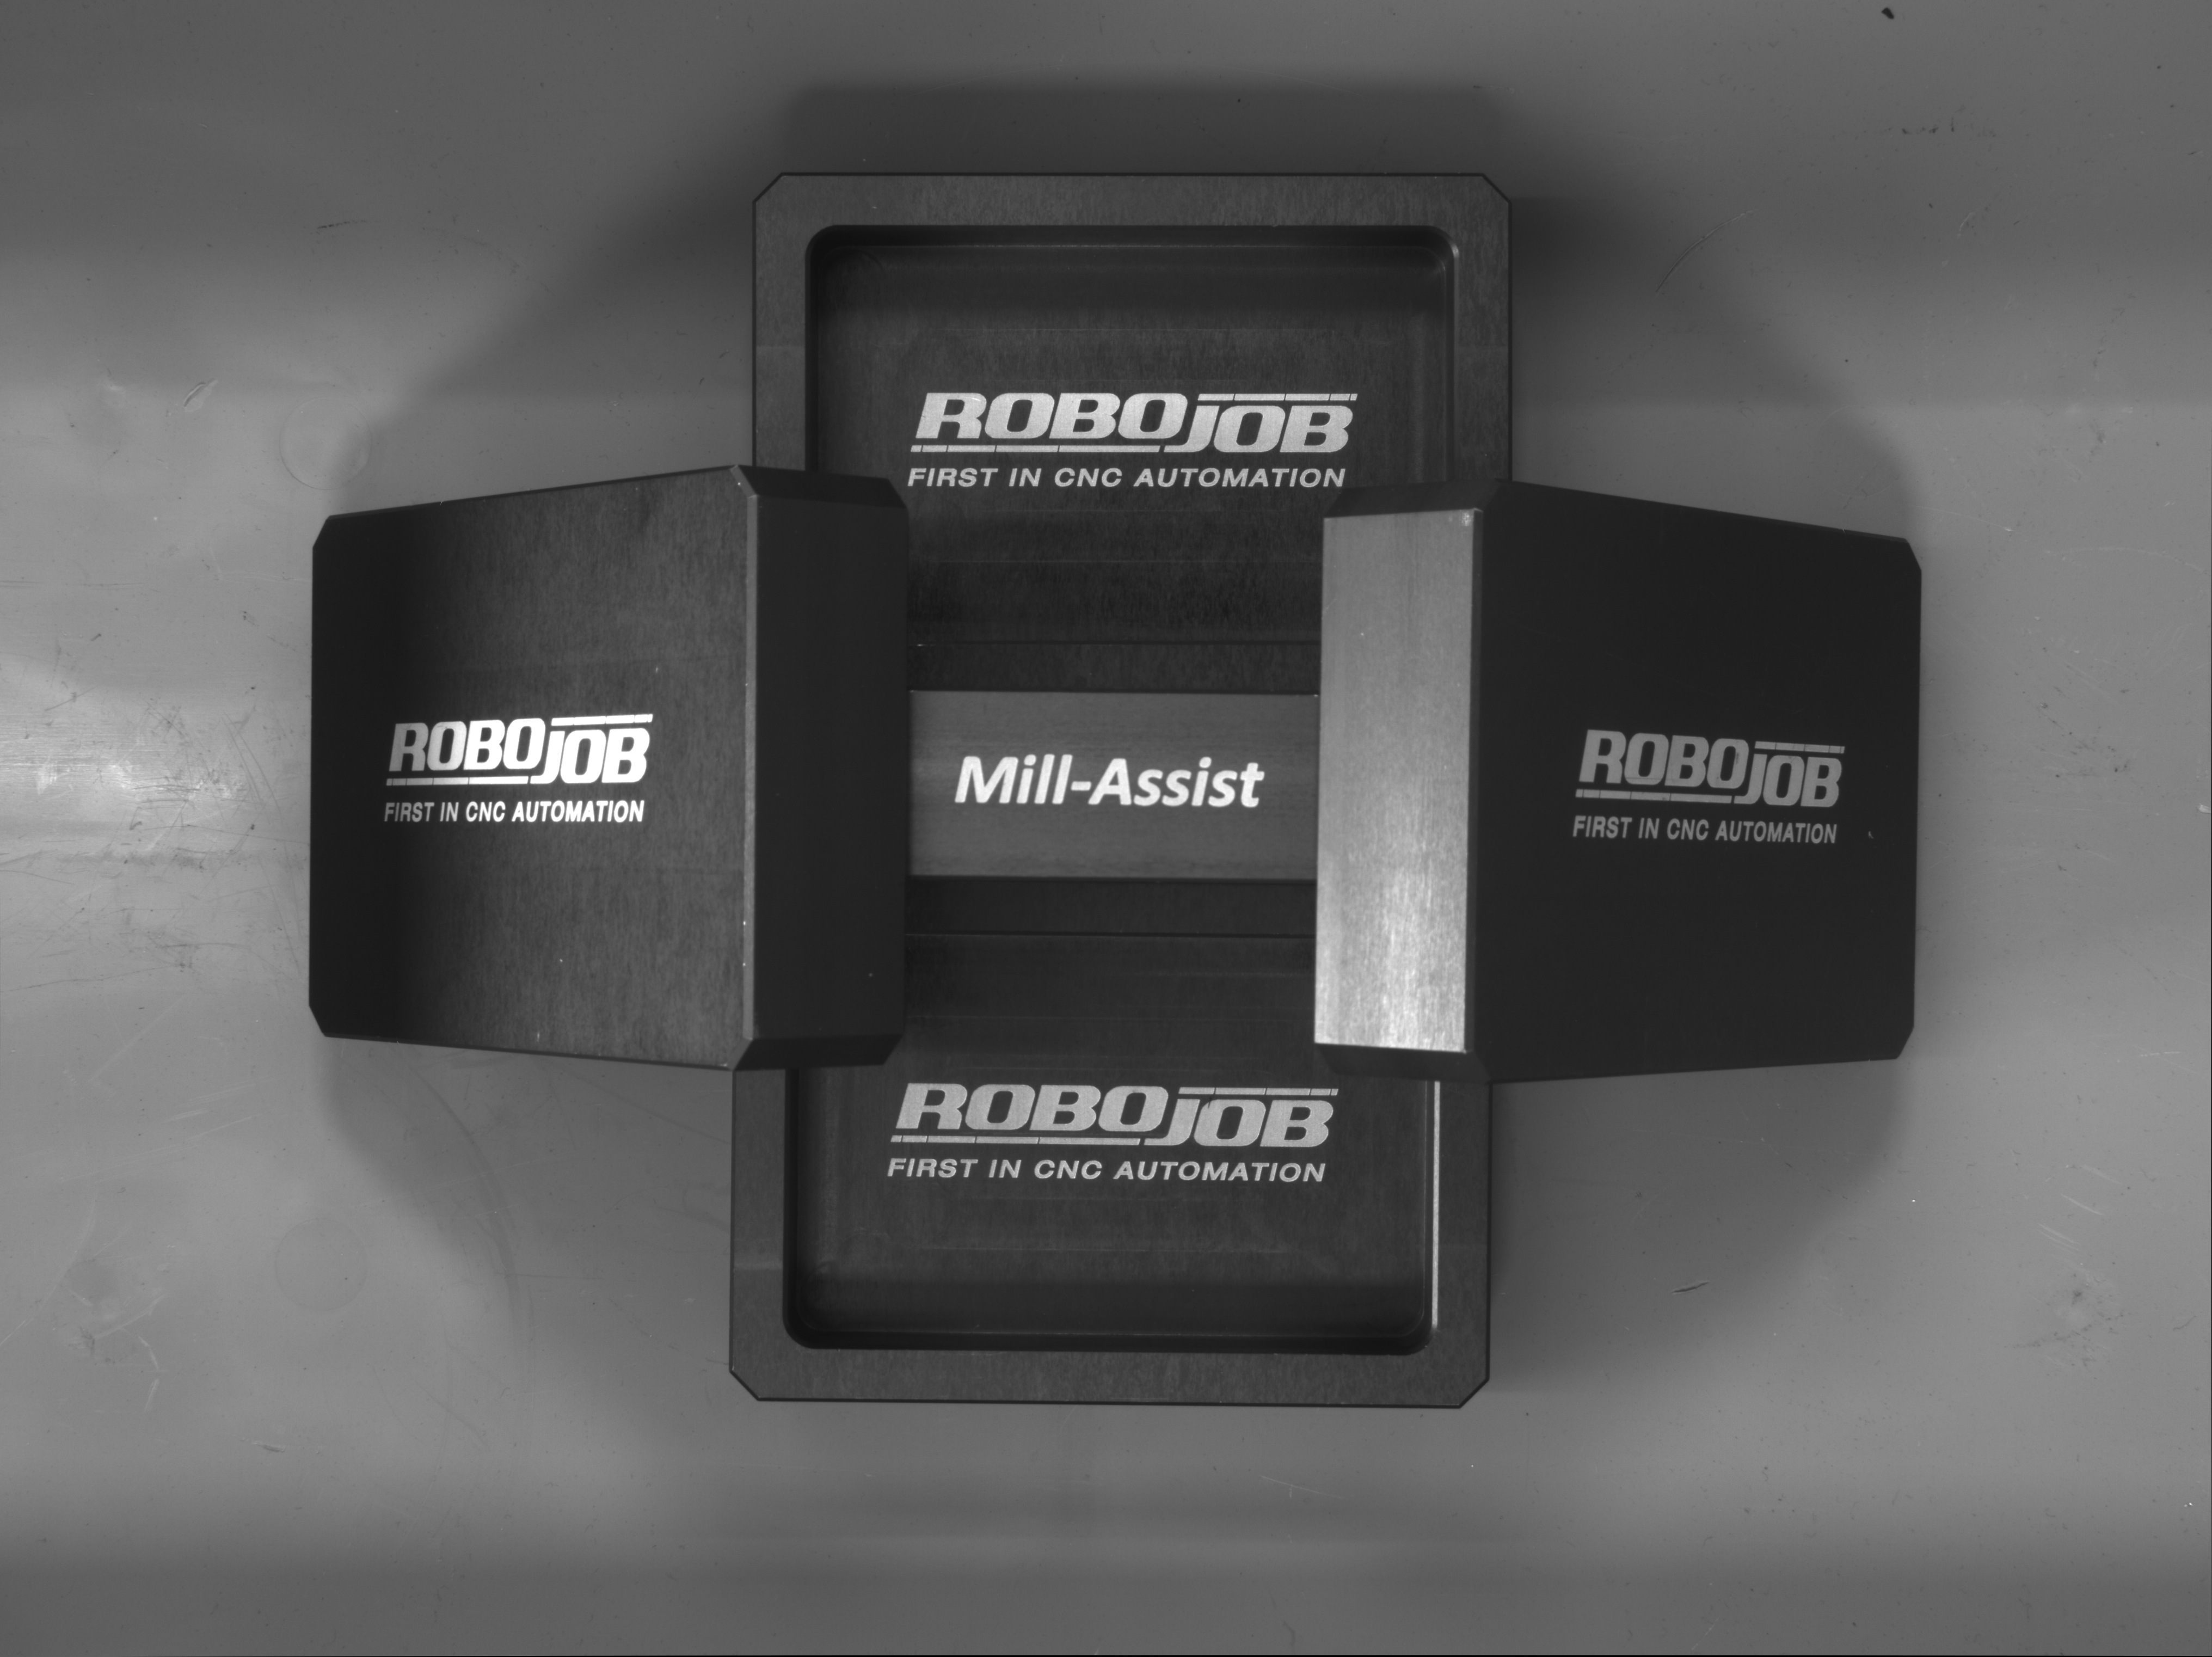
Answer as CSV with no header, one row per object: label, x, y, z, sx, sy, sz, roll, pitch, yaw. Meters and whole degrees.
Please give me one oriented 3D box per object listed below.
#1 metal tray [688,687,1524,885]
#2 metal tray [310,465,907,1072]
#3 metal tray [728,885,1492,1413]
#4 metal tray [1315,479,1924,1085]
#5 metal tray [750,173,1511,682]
metal tray,0.000,-0.006,0.612,0.130,0.090,0.030,0,90,-1
metal tray,-0.084,-0.009,0.598,0.030,0.129,0.090,1,89,-42
metal tray,0.001,0.054,0.640,0.130,0.030,0.090,0,90,-1
metal tray,0.087,-0.006,0.598,0.030,0.131,0.090,1,89,42
metal tray,0.004,-0.067,0.641,0.130,0.030,0.090,0,90,-1
